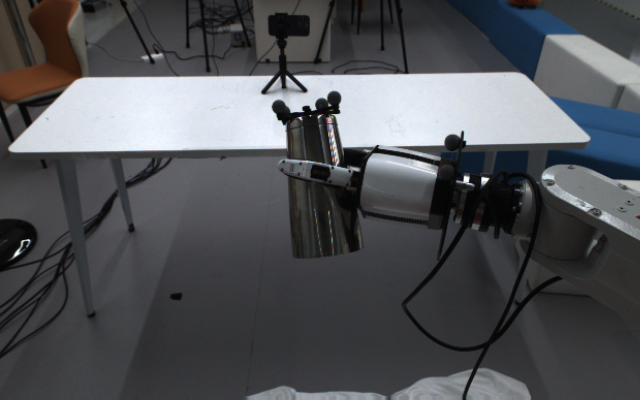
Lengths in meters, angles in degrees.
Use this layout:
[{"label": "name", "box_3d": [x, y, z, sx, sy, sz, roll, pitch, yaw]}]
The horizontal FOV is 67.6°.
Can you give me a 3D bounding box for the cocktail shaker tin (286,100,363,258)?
[{"label": "cocktail shaker tin", "box_3d": [-0.001, -0.017, 0.617, 0.093, 0.170, 0.093, -8, 1, 0]}]
